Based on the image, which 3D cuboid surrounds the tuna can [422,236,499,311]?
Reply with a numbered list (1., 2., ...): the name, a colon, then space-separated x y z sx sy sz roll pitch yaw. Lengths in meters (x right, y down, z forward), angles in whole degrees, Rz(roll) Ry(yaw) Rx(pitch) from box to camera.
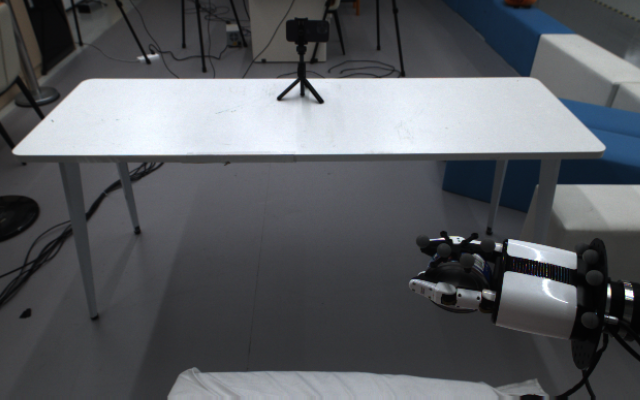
1. tuna can: 0.183 0.103 0.634 0.085 0.085 0.034 15 35 18
